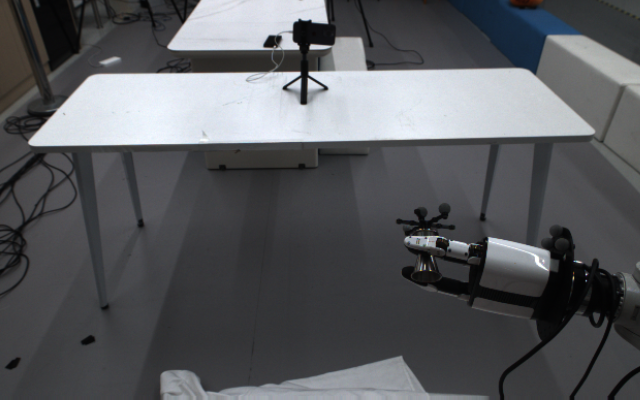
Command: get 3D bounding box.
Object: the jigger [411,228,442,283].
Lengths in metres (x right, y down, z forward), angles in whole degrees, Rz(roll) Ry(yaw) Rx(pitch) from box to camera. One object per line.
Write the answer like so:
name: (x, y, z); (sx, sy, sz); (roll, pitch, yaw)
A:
jigger: (0.154, 0.079, 0.710); (0.043, 0.043, 0.071); (4, 61, 3)
